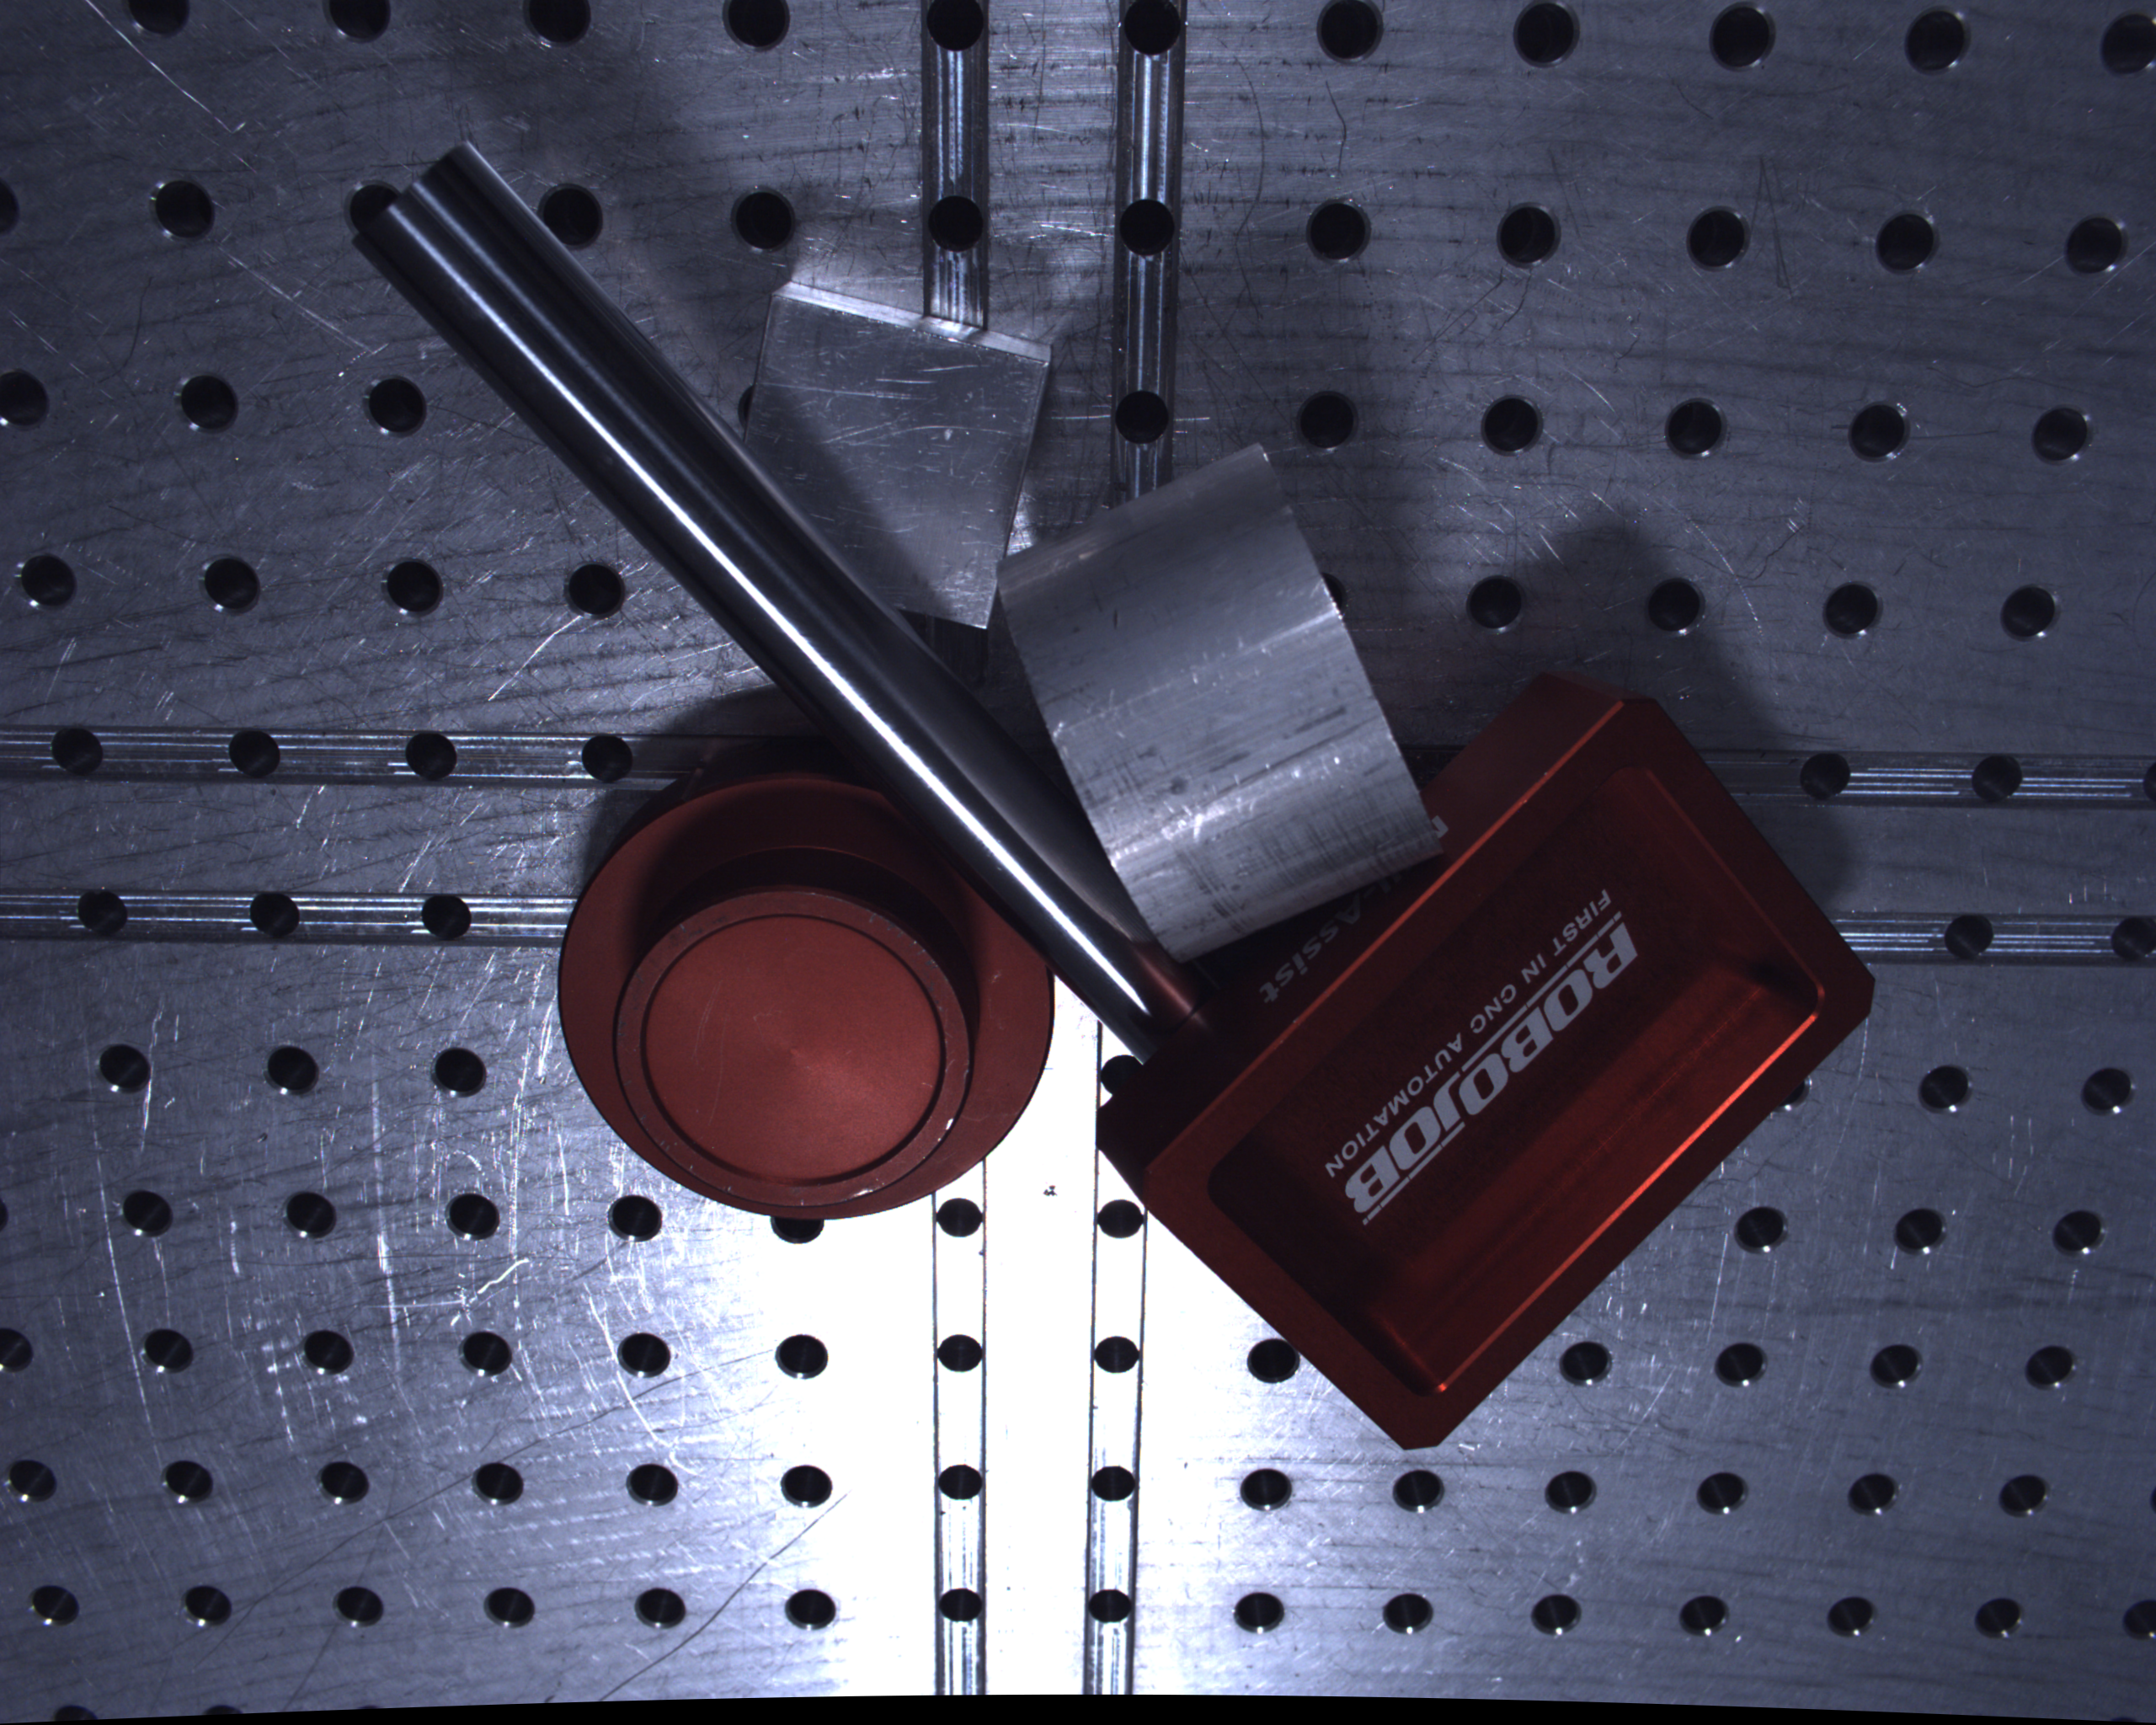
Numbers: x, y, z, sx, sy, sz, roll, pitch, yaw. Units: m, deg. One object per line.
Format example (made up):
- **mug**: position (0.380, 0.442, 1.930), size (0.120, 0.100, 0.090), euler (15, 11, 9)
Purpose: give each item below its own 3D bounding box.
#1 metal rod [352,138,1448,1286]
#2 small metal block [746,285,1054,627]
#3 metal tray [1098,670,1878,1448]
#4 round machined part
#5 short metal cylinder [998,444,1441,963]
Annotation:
- **metal rod**: position (-0.012, -0.007, 0.393), size (0.025, 0.025, 0.300), euler (-38, 114, 12)
- **small metal block**: position (-0.035, -0.076, 0.385), size (0.050, 0.025, 0.050), euler (12, 110, -5)
- **metal tray**: position (0.080, 0.038, 0.403), size (0.130, 0.030, 0.090), euler (-45, 113, -2)
- **round machined part**: position (-0.054, 0.029, 0.413), size (0.099, 0.042, 0.097), euler (0, 110, -1)
- **short metal cylinder**: position (0.026, -0.028, 0.374), size (0.050, 0.080, 0.080), euler (-24, 109, 8)
